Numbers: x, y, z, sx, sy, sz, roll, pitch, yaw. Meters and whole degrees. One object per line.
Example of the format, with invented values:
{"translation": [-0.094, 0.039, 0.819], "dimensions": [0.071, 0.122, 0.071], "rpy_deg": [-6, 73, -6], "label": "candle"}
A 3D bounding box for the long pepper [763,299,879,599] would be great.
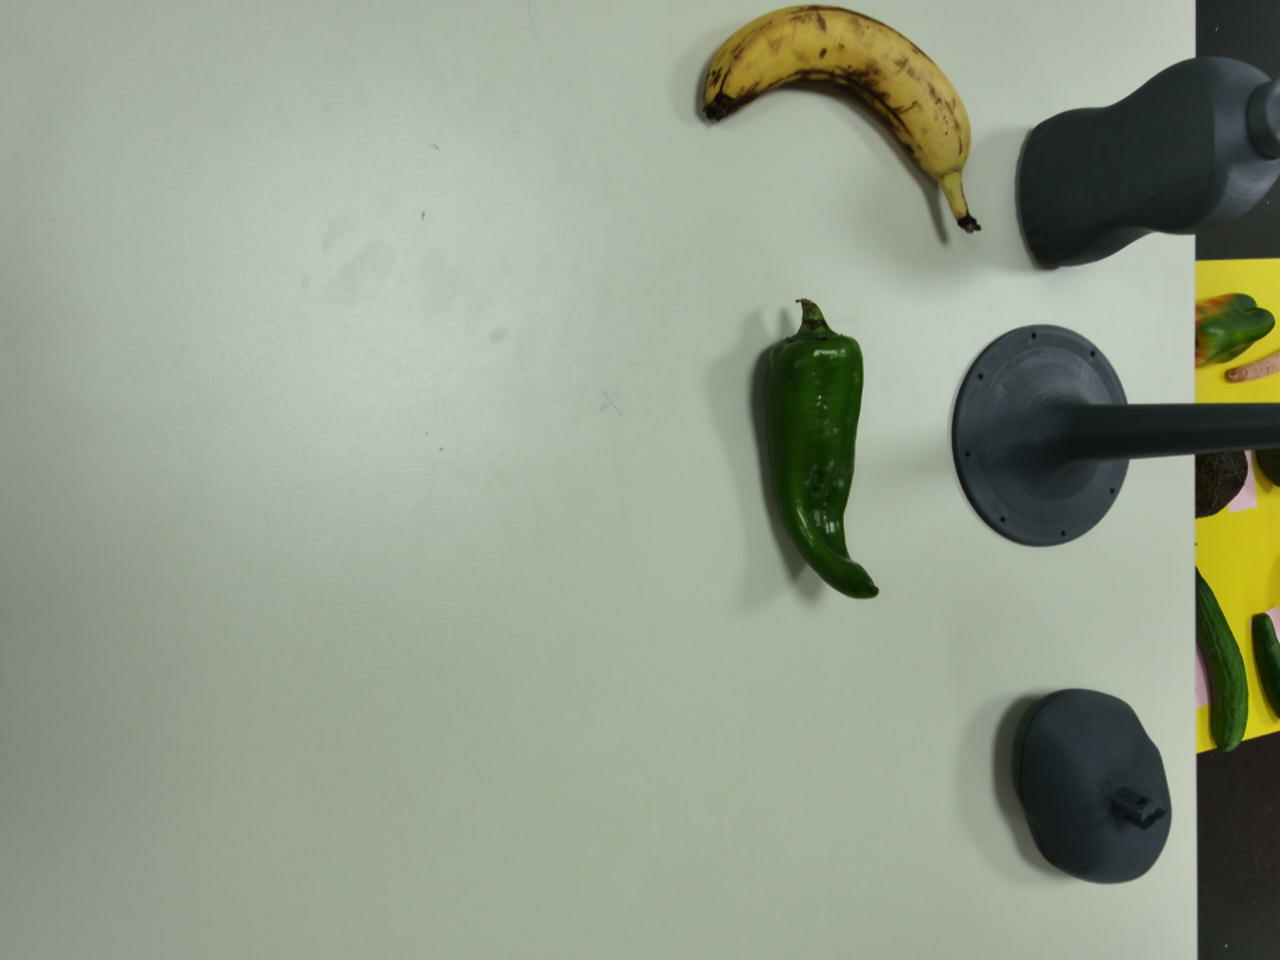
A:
{"translation": [0.105, -0.018, 0.572], "dimensions": [0.058, 0.065, 0.175], "rpy_deg": [-3, 91, -22], "label": "long pepper"}
